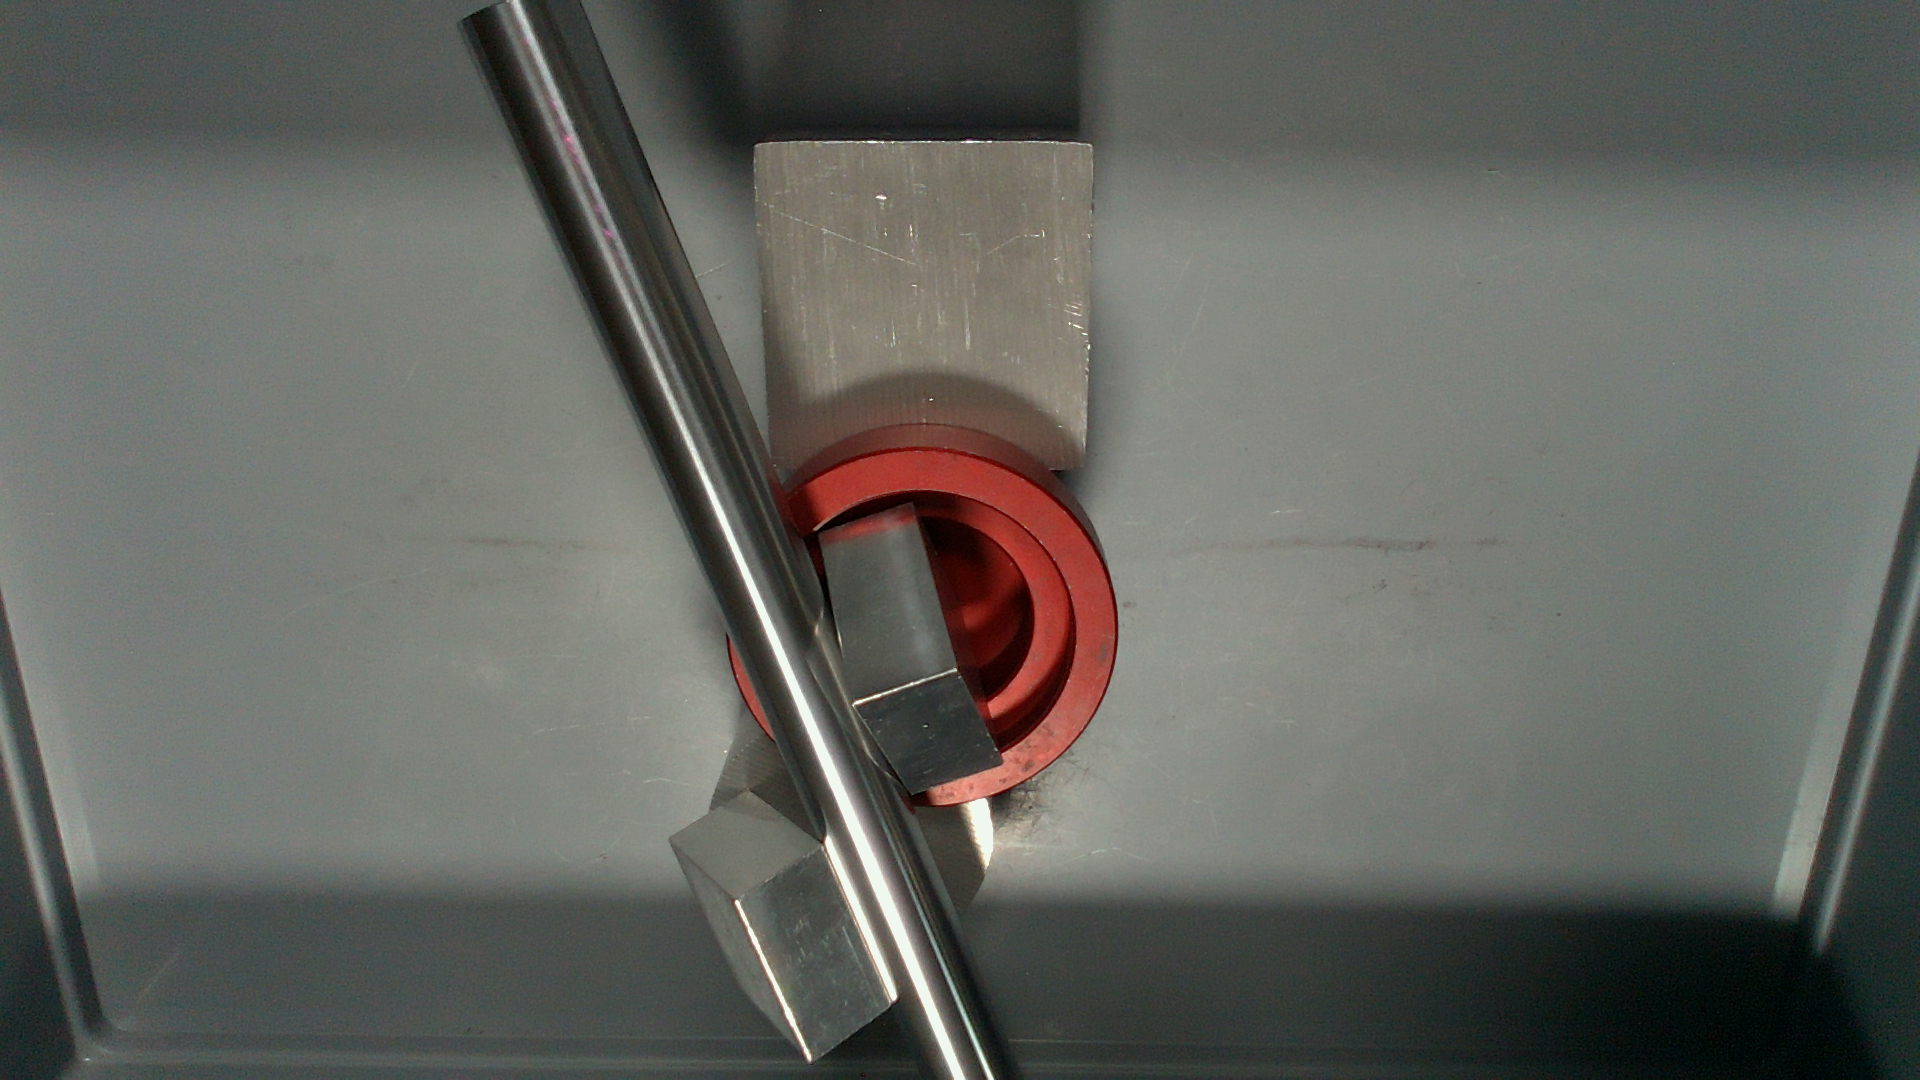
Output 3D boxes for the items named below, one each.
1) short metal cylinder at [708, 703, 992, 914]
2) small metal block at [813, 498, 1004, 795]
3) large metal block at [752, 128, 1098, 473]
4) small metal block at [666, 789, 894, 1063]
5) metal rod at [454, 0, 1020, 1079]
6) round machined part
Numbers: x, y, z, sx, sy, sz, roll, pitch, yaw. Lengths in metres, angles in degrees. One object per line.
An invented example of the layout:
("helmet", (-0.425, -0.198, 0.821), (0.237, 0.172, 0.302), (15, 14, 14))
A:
("short metal cylinder", (-0.031, 0.074, 0.408), (0.080, 0.050, 0.080), (0, 110, 0))
("small metal block", (-0.012, 0.027, 0.338), (0.025, 0.050, 0.050), (-19, 144, 3))
("large metal block", (-0.008, -0.063, 0.355), (0.080, 0.050, 0.080), (0, 110, 0))
("small metal block", (-0.048, 0.099, 0.360), (0.025, 0.050, 0.050), (-29, 110, -25))
("metal rod", (-0.041, 0.025, 0.328), (0.025, 0.025, 0.300), (-18, 109, 6))
("round machined part", (-0.009, 0.017, 0.359), (0.098, 0.042, 0.098), (0, 110, 0))
